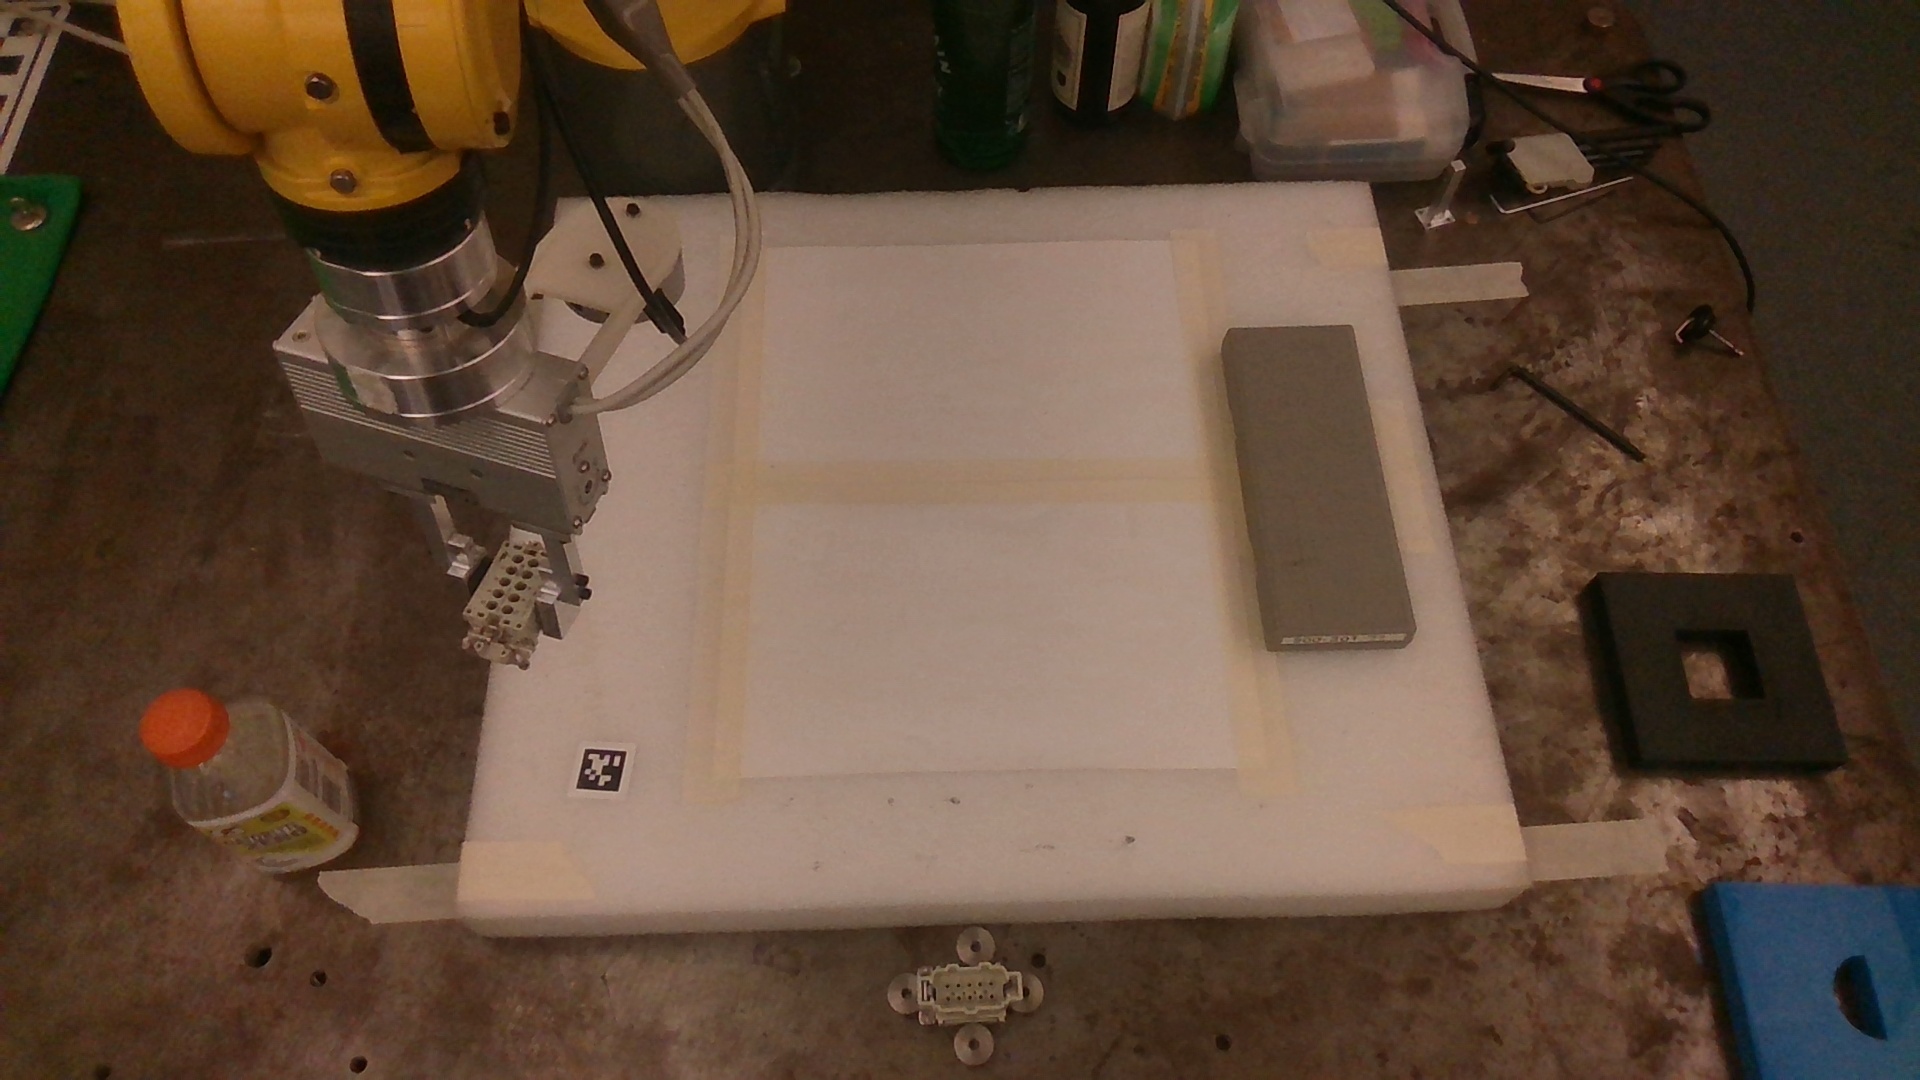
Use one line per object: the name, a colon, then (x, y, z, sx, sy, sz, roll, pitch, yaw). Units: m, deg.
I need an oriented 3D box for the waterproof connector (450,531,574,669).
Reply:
waterproof connector: (-0.220, 0.029, 0.683, 0.037, 0.038, 0.069, 18, 63, 6)
